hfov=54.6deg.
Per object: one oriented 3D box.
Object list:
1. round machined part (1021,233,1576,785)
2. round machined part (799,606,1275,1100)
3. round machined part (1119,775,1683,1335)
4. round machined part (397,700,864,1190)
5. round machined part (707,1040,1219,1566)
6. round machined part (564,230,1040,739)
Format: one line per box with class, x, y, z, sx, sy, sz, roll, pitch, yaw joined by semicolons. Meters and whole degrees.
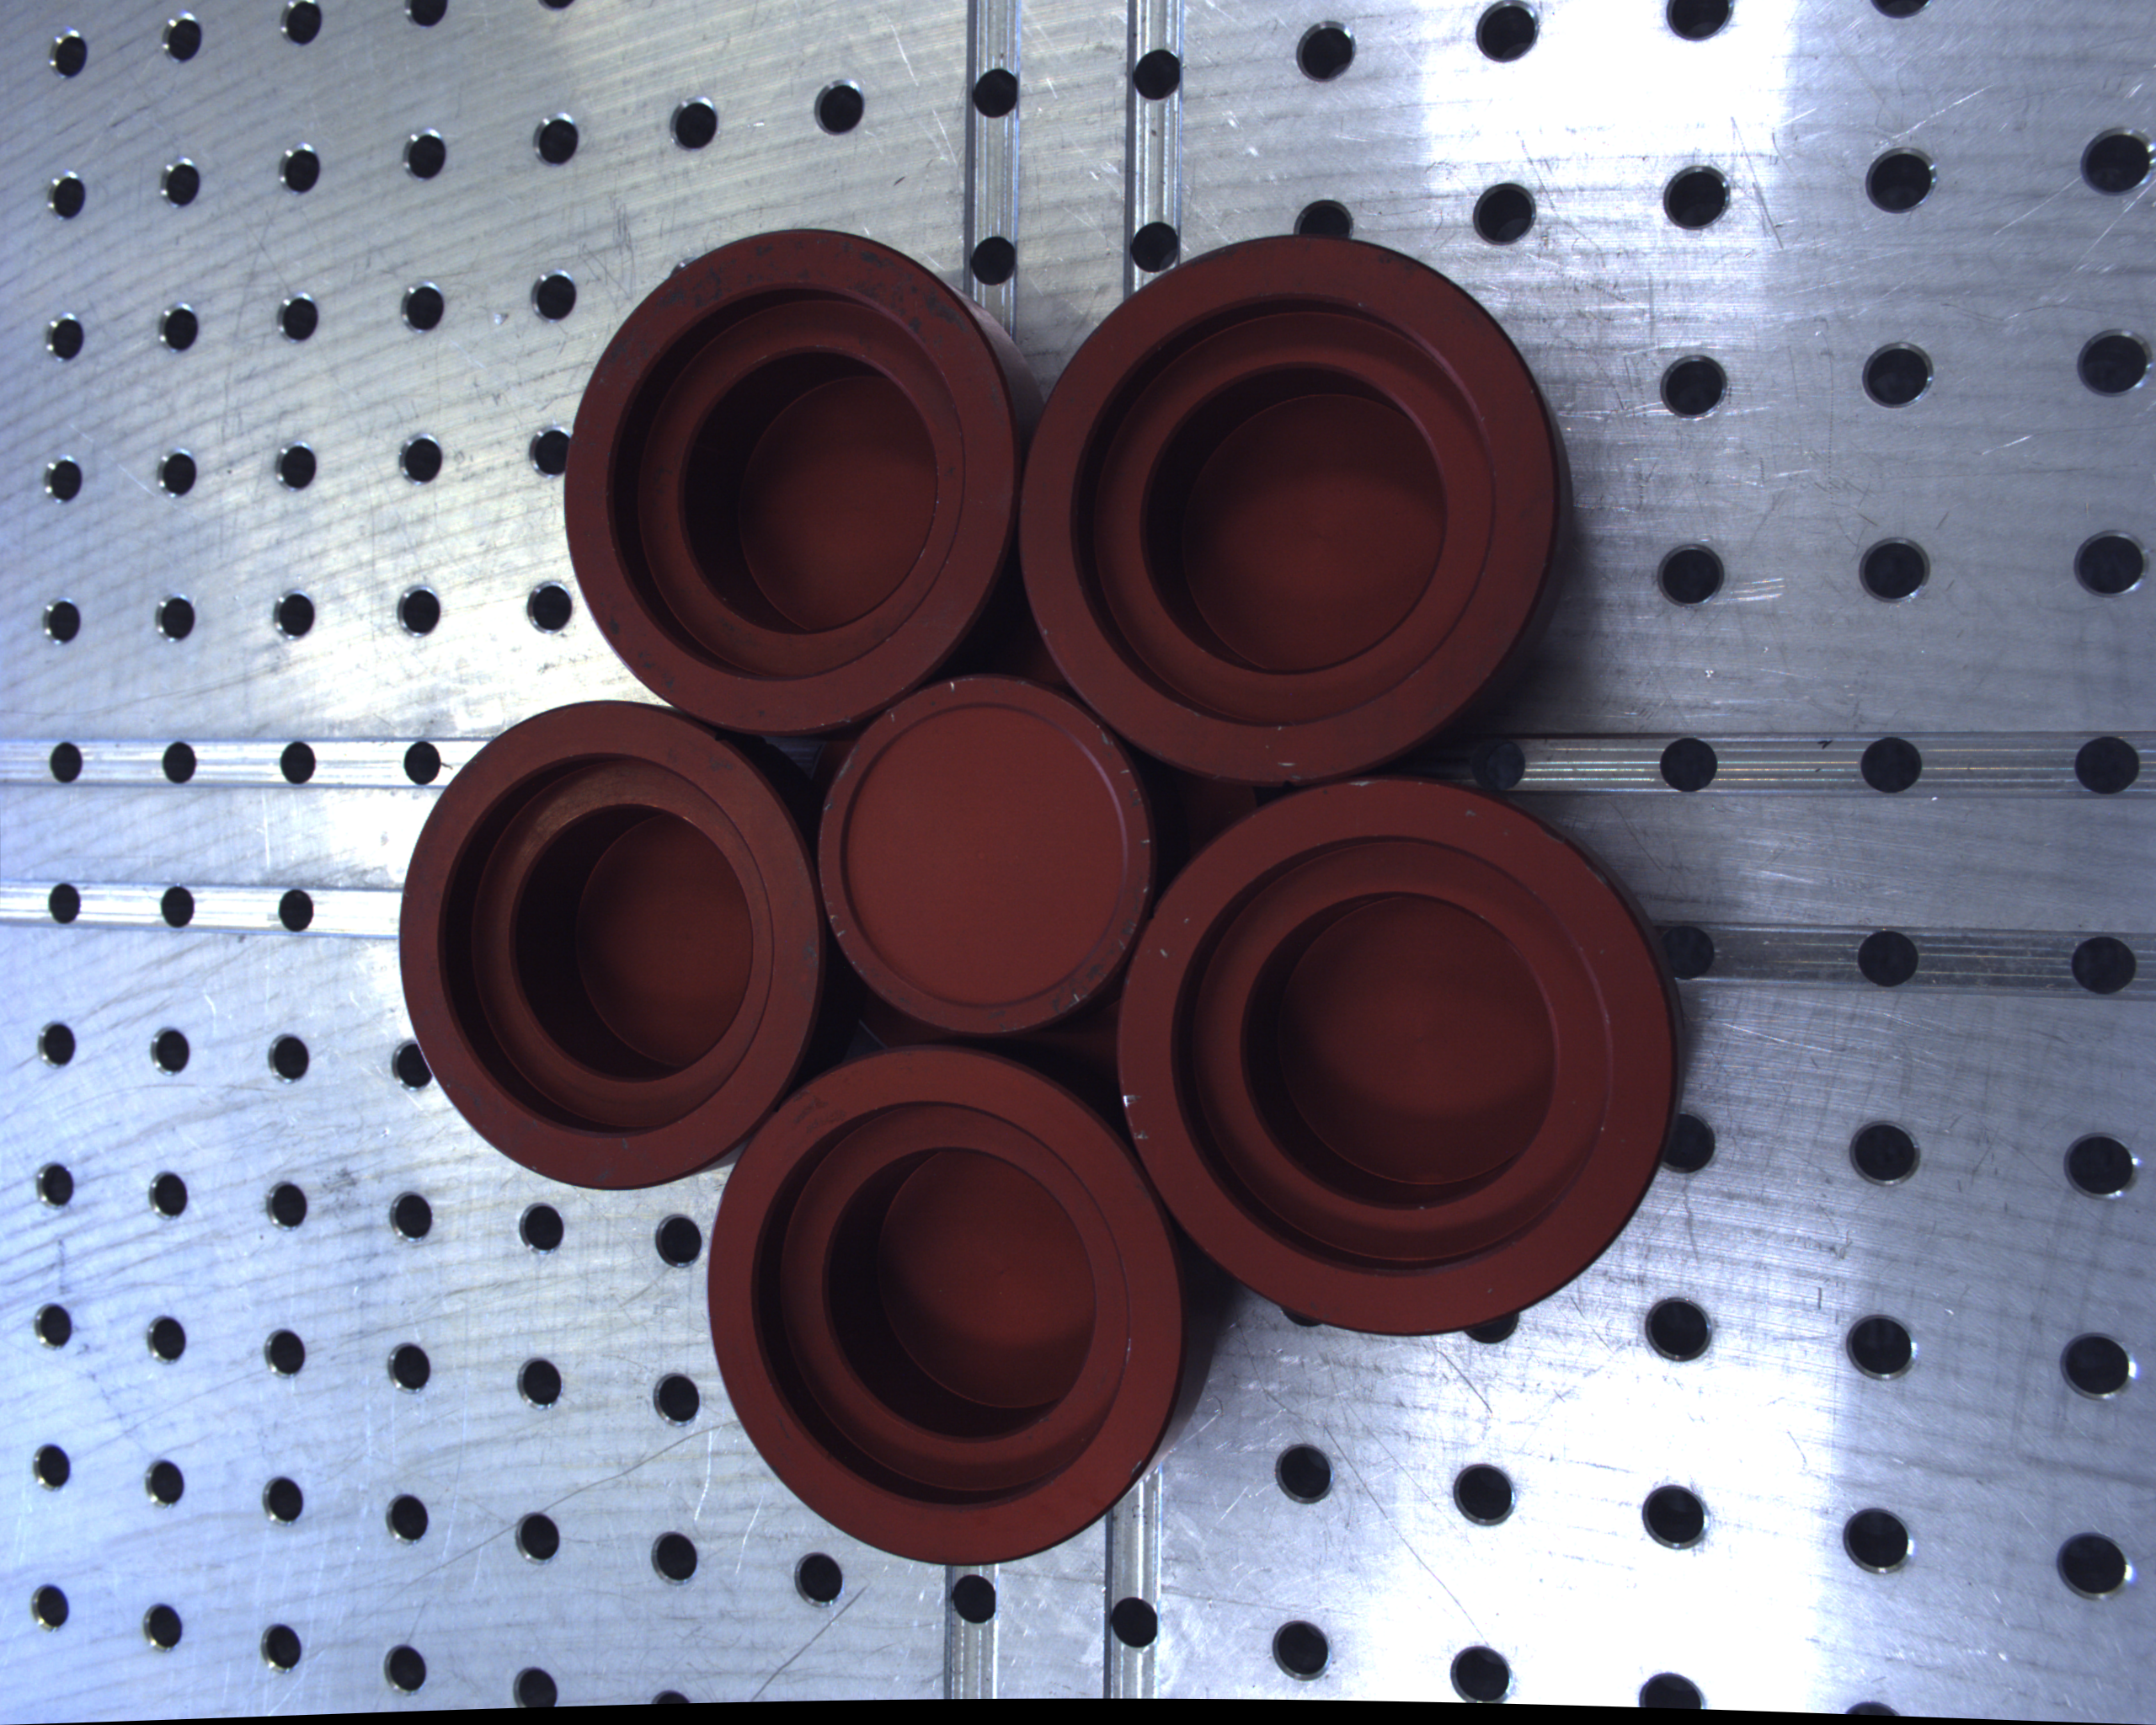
round machined part;0.043;-0.063;0.388;0.098;0.042;0.097;0;90;20
round machined part;-0.011;-0.001;0.407;0.098;0.042;0.097;0;90;20
round machined part;0.061;0.033;0.382;0.098;0.042;0.097;0;90;20
round machined part;-0.088;0.016;0.435;0.098;0.042;0.097;0;90;20
round machined part;-0.019;0.083;0.410;0.098;0.042;0.097;0;90;20
round machined part;-0.050;-0.073;0.421;0.098;0.042;0.097;0;90;20
